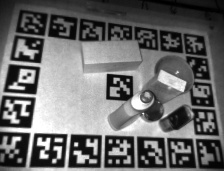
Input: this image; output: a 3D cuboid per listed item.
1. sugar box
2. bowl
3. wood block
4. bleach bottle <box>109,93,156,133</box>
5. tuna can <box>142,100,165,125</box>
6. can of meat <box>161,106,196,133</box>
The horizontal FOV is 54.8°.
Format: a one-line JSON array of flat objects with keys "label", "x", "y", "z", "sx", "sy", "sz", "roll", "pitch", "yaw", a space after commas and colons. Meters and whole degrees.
[{"label": "sugar box", "x": 0.176, "y": 0.017, "z": 0.731, "sx": 0.093, "sy": 0.176, "sz": 0.045, "roll": 22, "pitch": 70, "yaw": 1}, {"label": "bowl", "x": 0.244, "y": -0.035, "z": 0.831, "sx": 0.162, "sy": 0.055, "sz": 0.161, "roll": 3, "pitch": 70, "yaw": -7}, {"label": "wood block", "x": -0.009, "y": -0.098, "z": 0.782, "sx": 0.208, "sy": 0.089, "sz": 0.090, "roll": -6, "pitch": 76, "yaw": -15}, {"label": "bleach bottle", "x": 0.062, "y": 0.079, "z": 0.647, "sx": 0.103, "sy": 0.250, "sz": 0.067, "roll": -23, "pitch": 75, "yaw": -17}, {"label": "tuna can", "x": 0.142, "y": 0.097, "z": 0.771, "sx": 0.086, "sy": 0.033, "sz": 0.085, "roll": 3, "pitch": 74, "yaw": -10}, {"label": "can of meat", "x": 0.229, "y": 0.120, "z": 0.763, "sx": 0.102, "sy": 0.083, "sz": 0.057, "roll": -27, "pitch": 75, "yaw": -21}]
